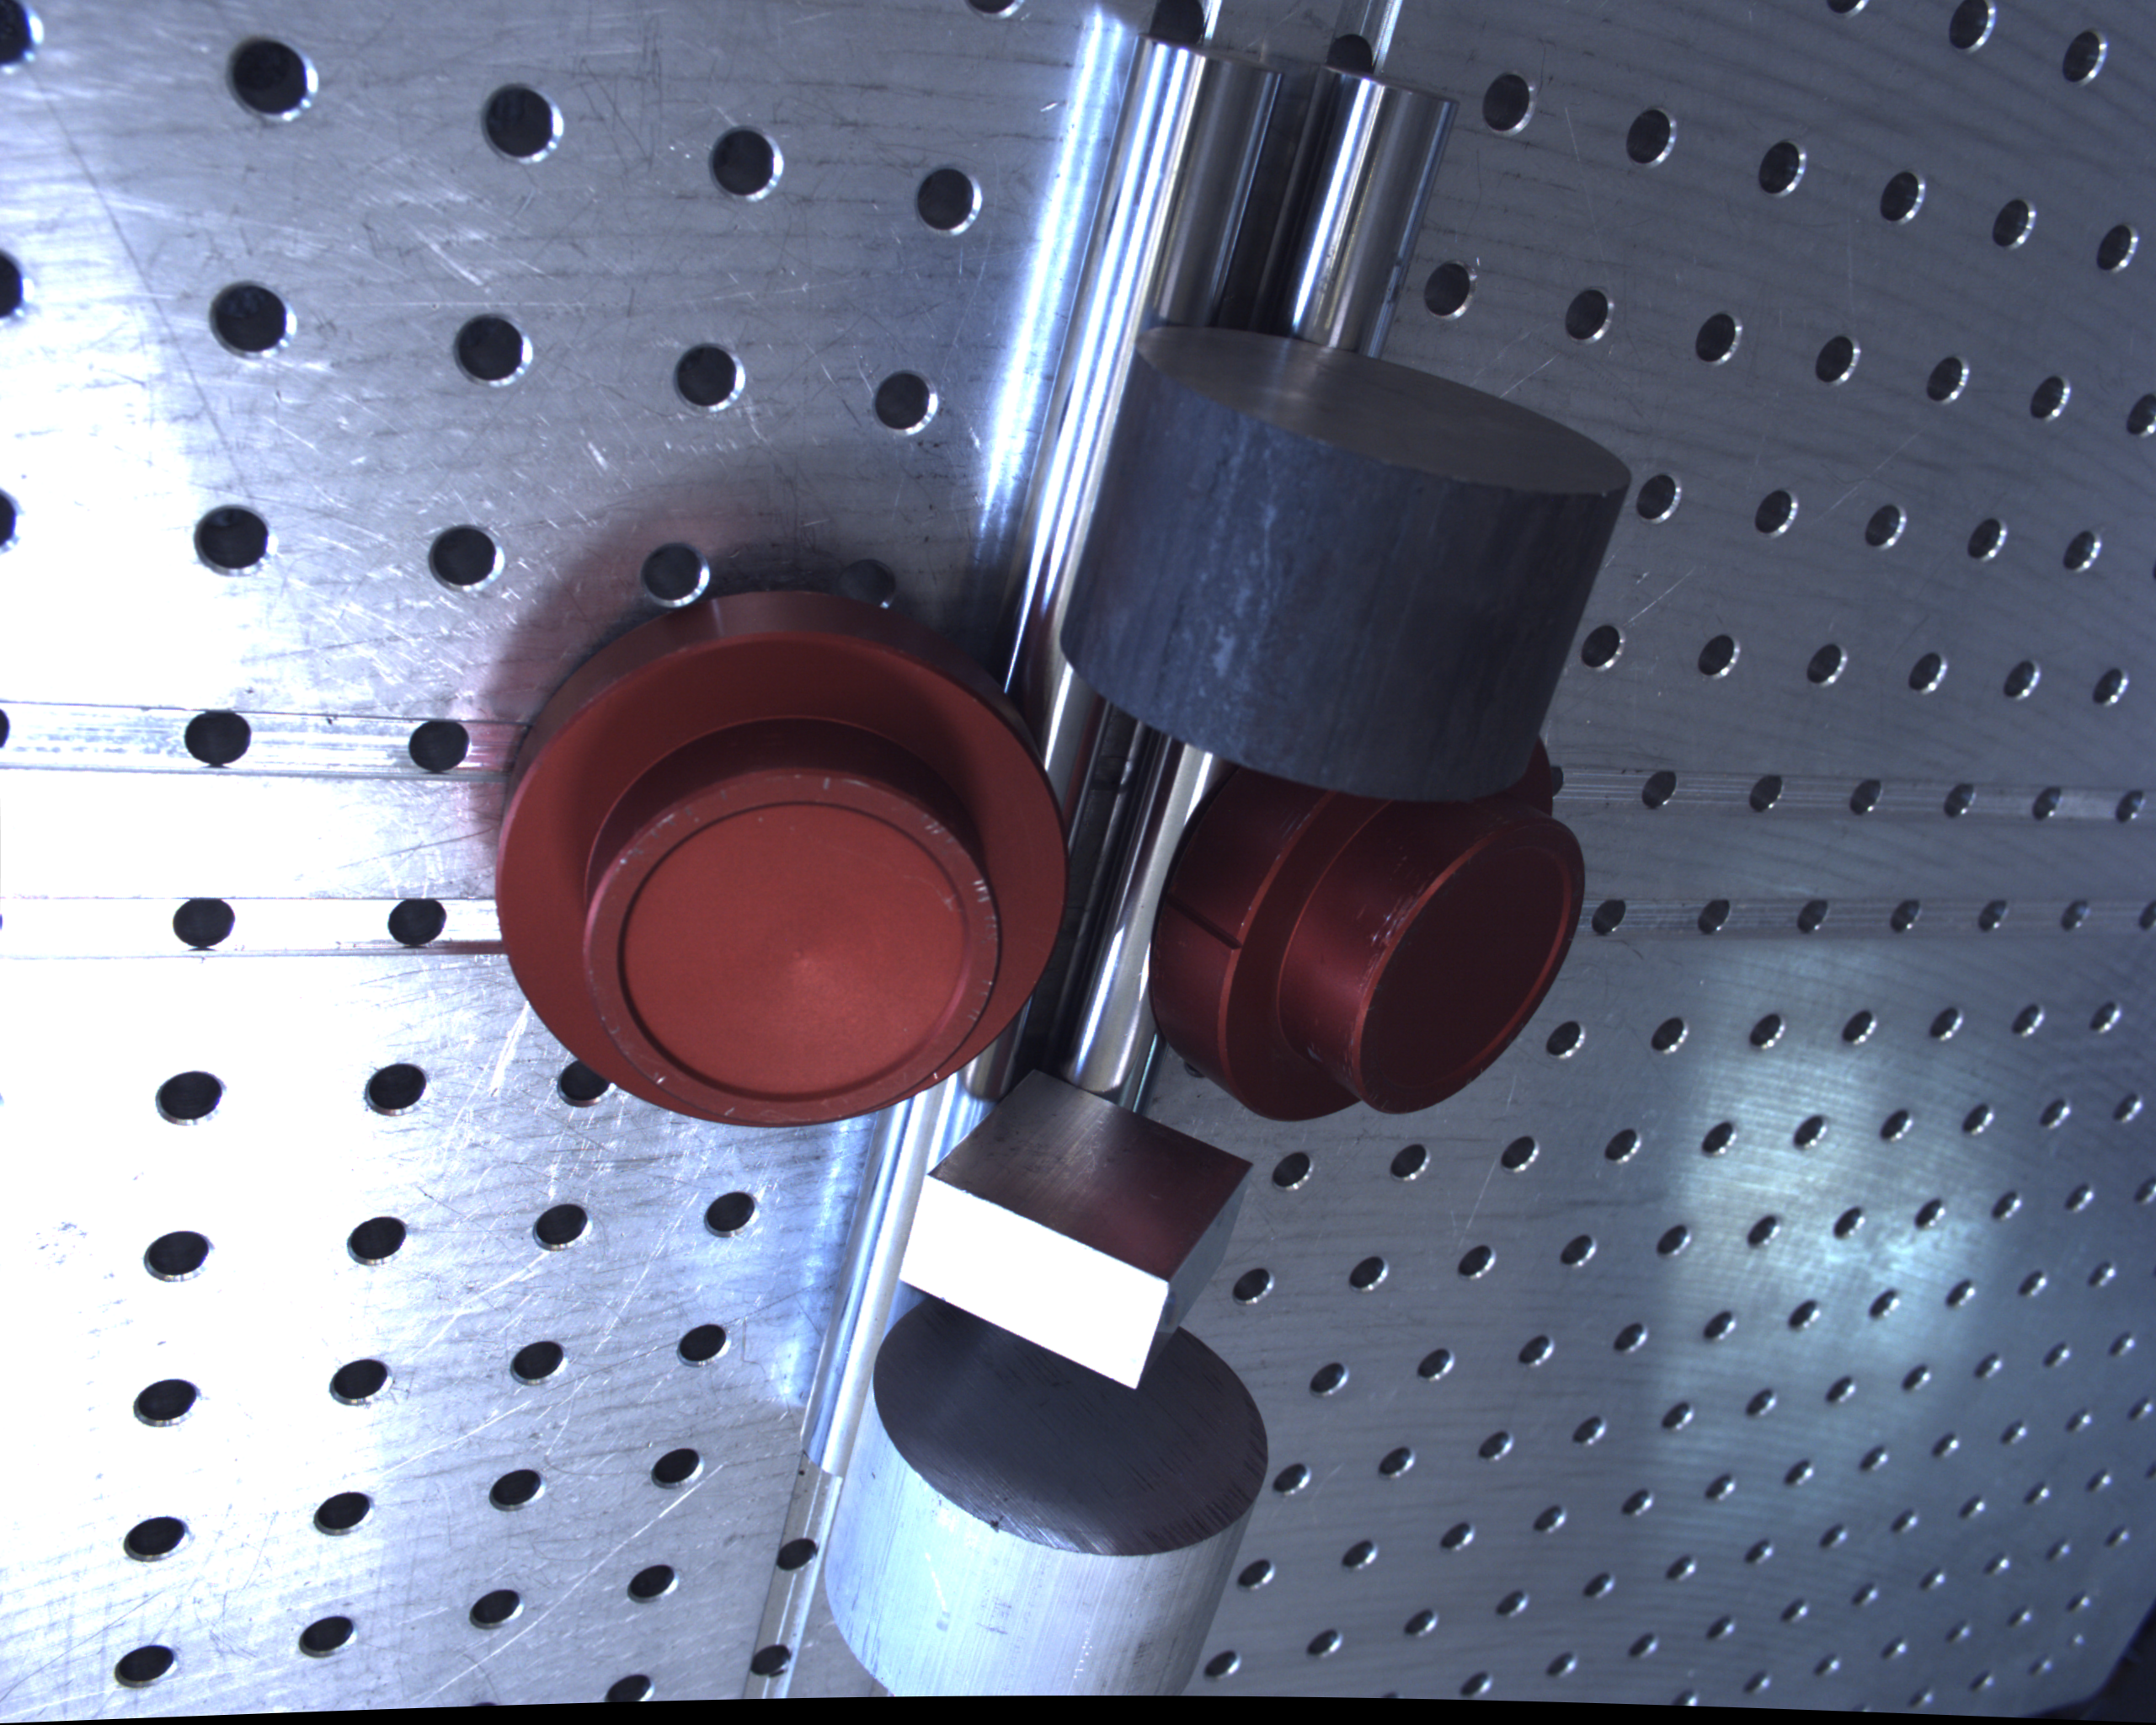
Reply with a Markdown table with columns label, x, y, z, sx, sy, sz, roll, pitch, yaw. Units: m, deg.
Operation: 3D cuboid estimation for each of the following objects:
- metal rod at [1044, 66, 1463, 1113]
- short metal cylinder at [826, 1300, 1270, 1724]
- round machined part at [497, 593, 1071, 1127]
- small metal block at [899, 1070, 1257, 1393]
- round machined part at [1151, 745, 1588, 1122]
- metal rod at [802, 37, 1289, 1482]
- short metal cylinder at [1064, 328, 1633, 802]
| label | x | y | z | sx | sy | sz | roll | pitch | yaw |
| --- | --- | --- | --- | --- | --- | --- | --- | --- | --- |
| metal rod | 0.018 | -0.002 | 0.418 | 0.025 | 0.025 | 0.298 | 1 | 118 | -29 |
| short metal cylinder | -0.007 | 0.130 | 0.424 | 0.081 | 0.080 | 0.050 | 1 | 118 | -29 |
| round machined part | -0.049 | 0.006 | 0.361 | 0.099 | 0.042 | 0.097 | -6 | 119 | -10 |
| small metal block | 0.001 | 0.071 | 0.409 | 0.050 | 0.050 | 0.025 | -39 | 148 | -61 |
| round machined part | 0.065 | 0.012 | 0.426 | 0.099 | 0.042 | 0.097 | -26 | 134 | -30 |
| metal rod | -0.013 | -0.001 | 0.402 | 0.025 | 0.025 | 0.298 | 1 | 118 | -29 |
| short metal cylinder | 0.042 | -0.050 | 0.339 | 0.081 | 0.080 | 0.050 | 1 | 118 | -29 |
